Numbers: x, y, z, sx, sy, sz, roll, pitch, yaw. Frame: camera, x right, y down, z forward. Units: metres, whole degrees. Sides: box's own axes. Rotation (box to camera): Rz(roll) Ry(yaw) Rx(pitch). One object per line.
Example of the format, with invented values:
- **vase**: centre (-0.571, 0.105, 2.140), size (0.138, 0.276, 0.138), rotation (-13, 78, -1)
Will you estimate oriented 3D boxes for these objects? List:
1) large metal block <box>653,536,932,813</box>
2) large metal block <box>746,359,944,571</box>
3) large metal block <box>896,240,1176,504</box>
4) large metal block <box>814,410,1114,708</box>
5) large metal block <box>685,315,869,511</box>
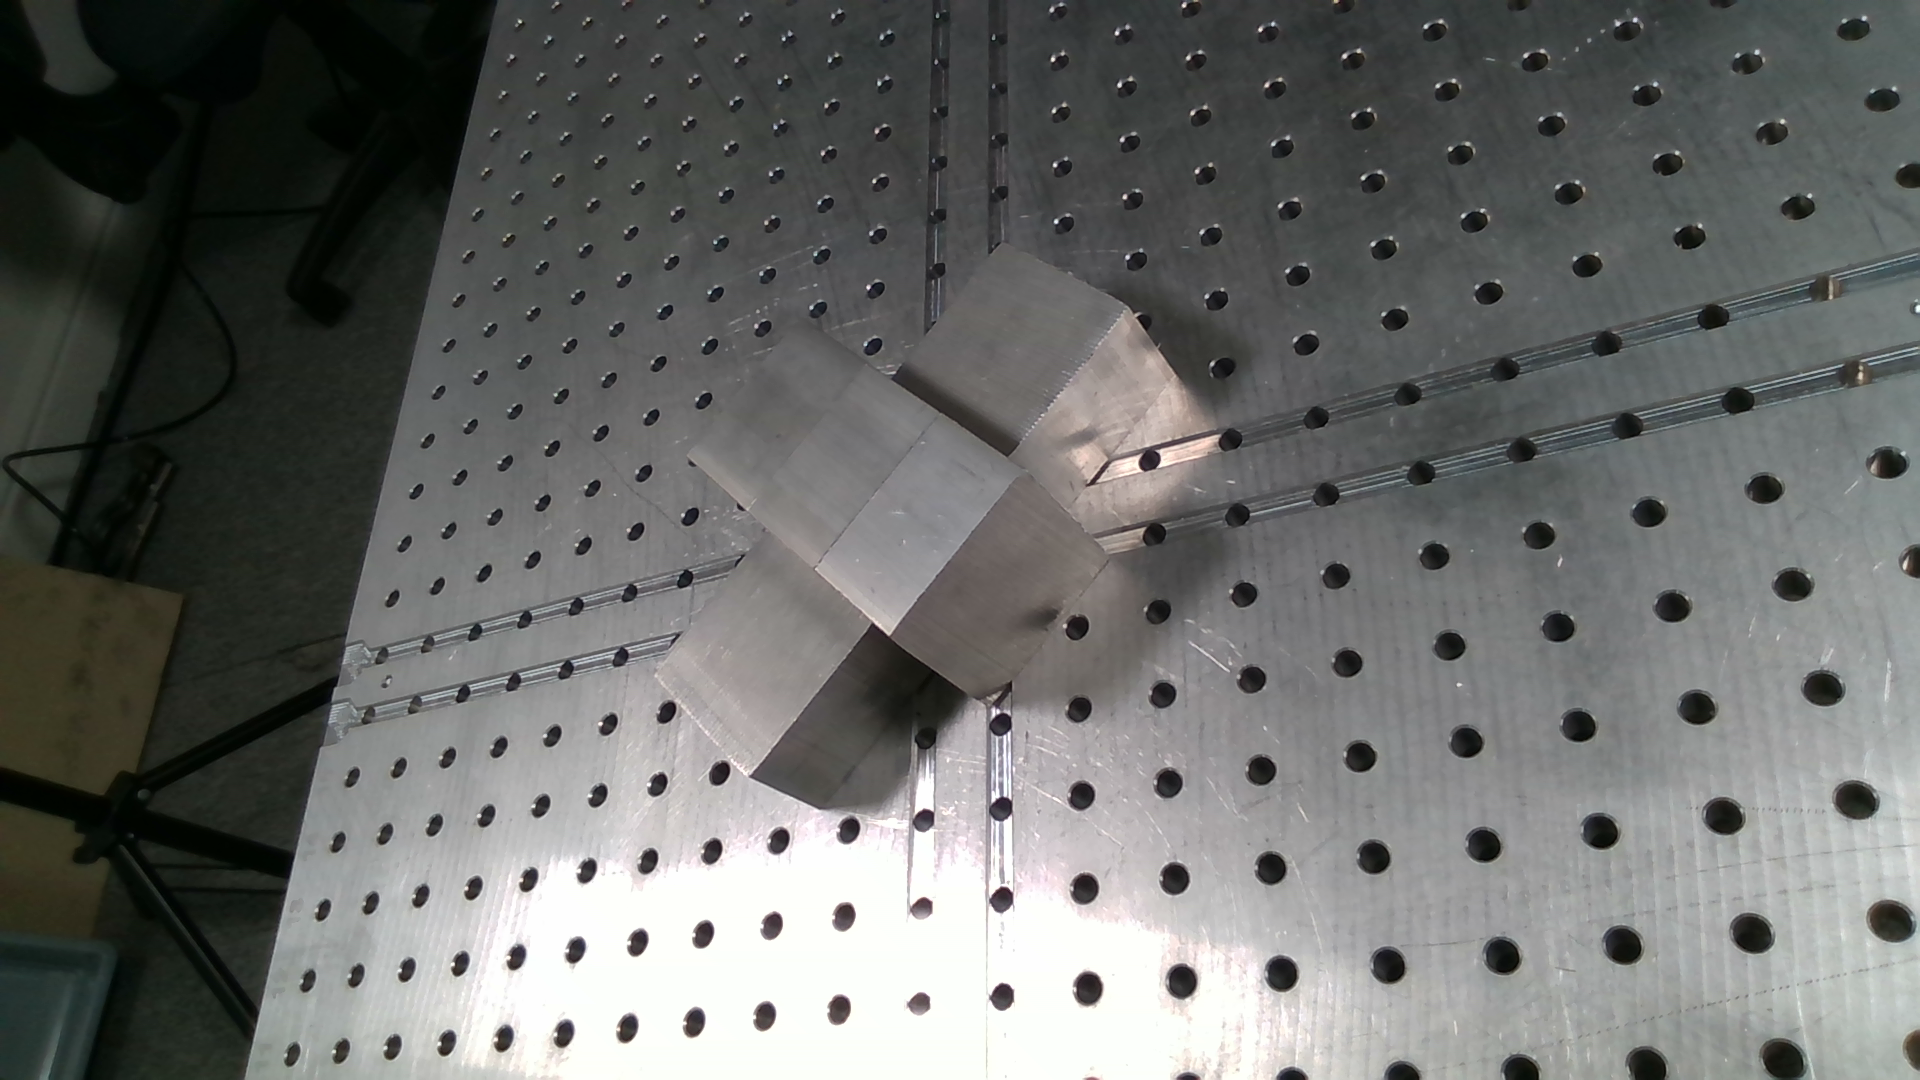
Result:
- **large metal block**: centre (-0.071, 0.055, 0.587), size (0.080, 0.050, 0.080), rotation (-51, 50, -1)
- **large metal block**: centre (-0.028, -0.015, 0.579), size (0.080, 0.080, 0.050), rotation (-51, 51, -2)
- **large metal block**: centre (0.030, -0.070, 0.588), size (0.080, 0.050, 0.080), rotation (-52, 50, -2)
- **large metal block**: centre (0.003, 0.009, 0.547), size (0.080, 0.080, 0.050), rotation (-51, 51, -2)
- **large metal block**: centre (-0.059, -0.038, 0.610), size (0.080, 0.080, 0.050), rotation (-51, 51, -2)
